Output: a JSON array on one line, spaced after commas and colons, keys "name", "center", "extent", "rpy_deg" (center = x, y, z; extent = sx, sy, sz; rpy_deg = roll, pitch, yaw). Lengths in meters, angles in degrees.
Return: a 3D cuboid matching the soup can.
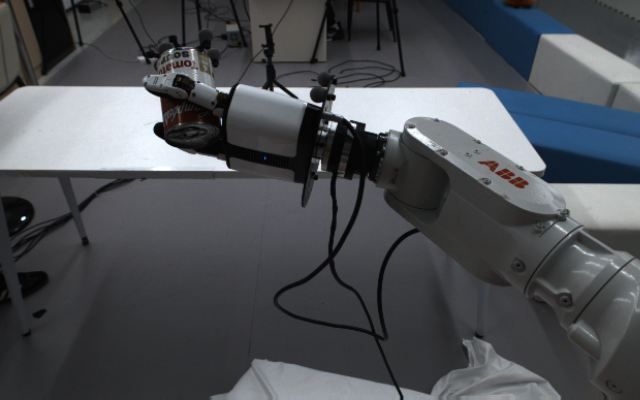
[{"name": "soup can", "center": [-0.157, -0.120, 0.582], "extent": [0.067, 0.067, 0.101], "rpy_deg": [-8, 74, -14]}]
